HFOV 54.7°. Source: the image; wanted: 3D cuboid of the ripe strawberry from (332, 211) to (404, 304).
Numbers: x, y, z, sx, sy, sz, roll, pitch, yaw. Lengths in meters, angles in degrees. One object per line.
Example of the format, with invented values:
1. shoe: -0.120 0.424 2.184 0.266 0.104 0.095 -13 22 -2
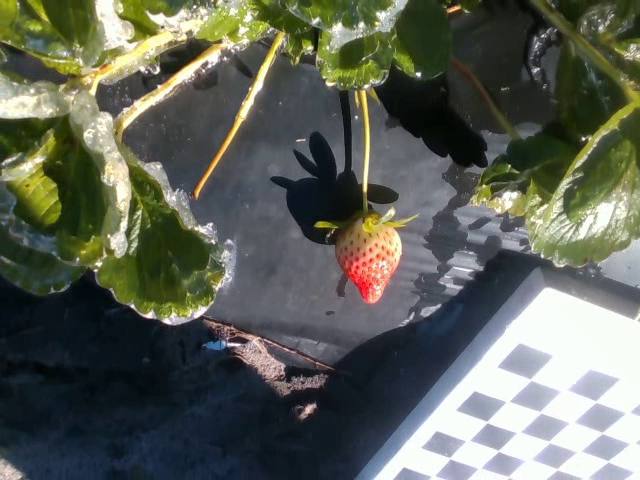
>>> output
1. ripe strawberry: 0.027 0.011 0.315 0.039 0.053 0.041 3 21 3
